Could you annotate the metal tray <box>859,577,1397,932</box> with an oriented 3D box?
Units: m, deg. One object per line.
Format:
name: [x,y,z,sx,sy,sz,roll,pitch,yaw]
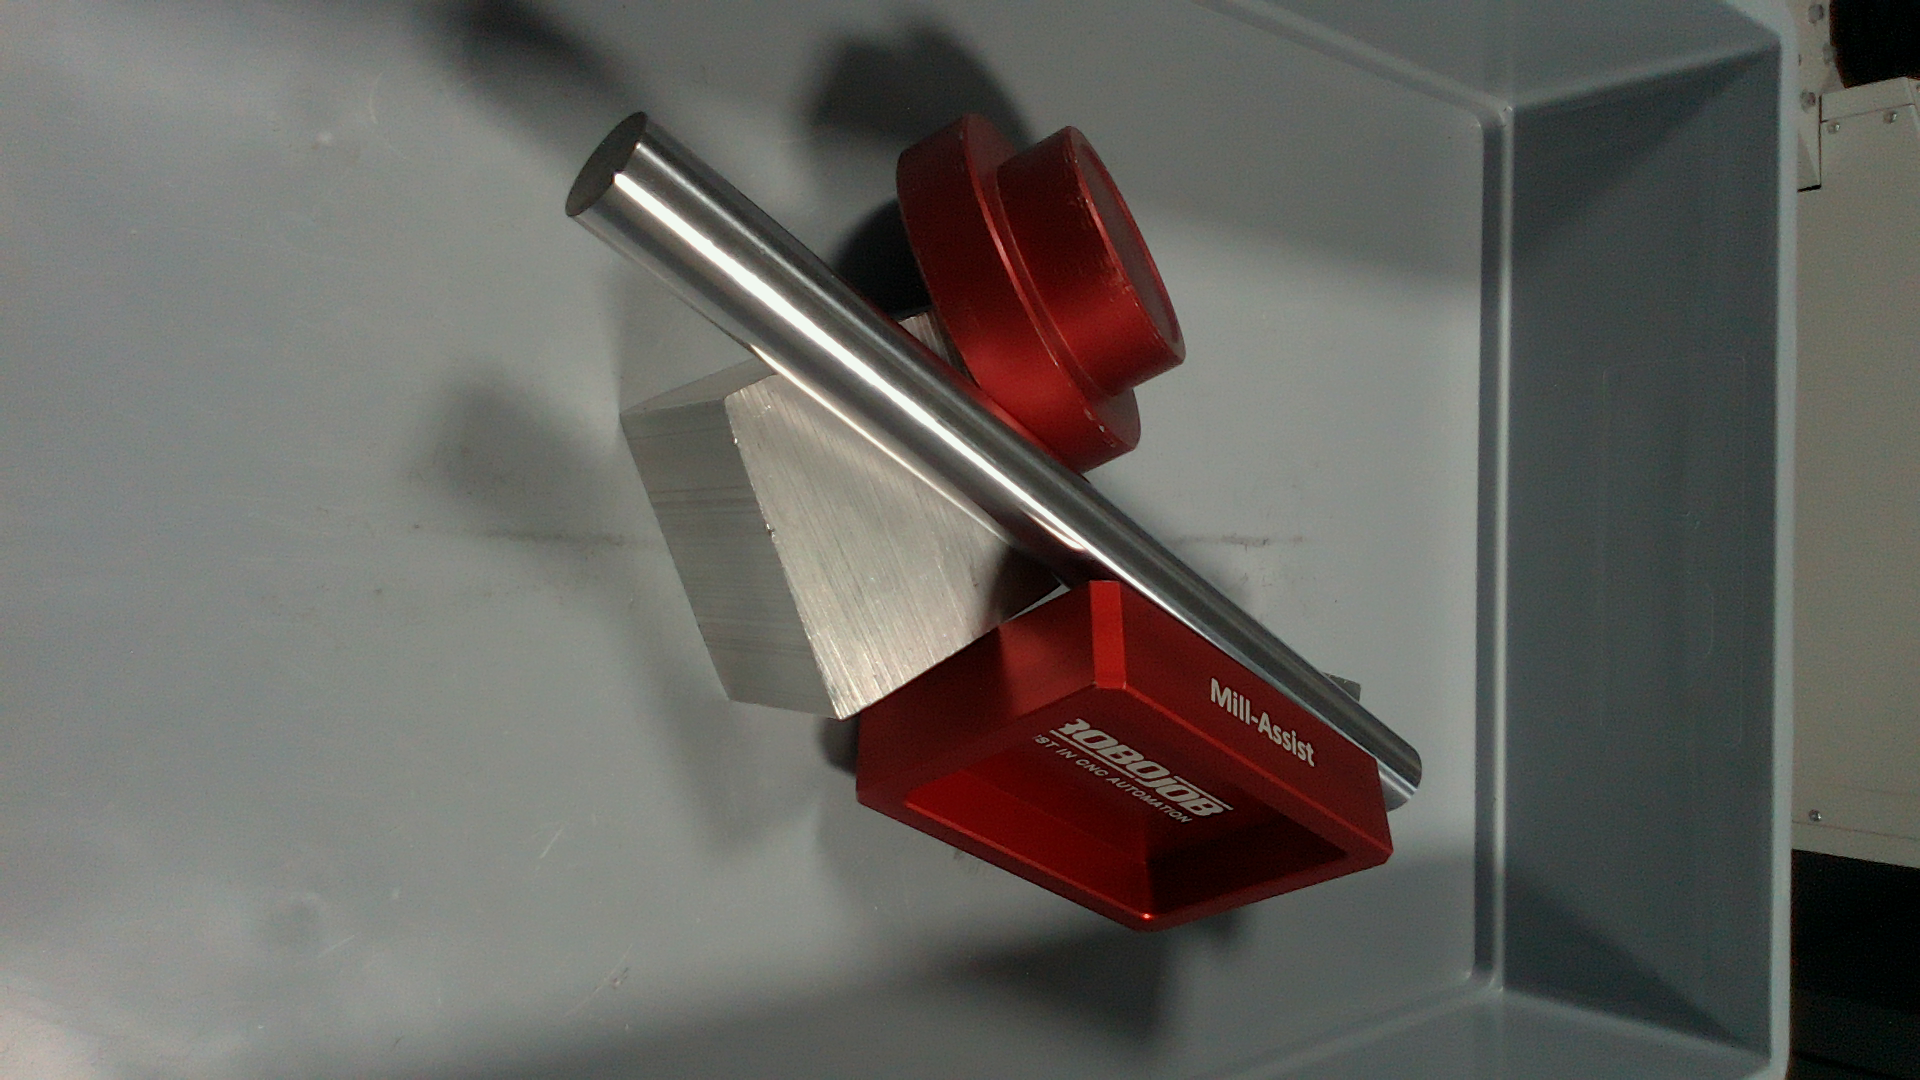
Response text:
metal tray: [0.048,0.066,0.380,0.130,0.090,0.030,33,42,-35]

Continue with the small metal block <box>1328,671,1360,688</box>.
small metal block: [0.100,0.067,0.455,0.025,0.050,0.050,19,78,-38]

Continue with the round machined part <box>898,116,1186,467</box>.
round machined part: [0.027,-0.069,0.365,0.098,0.042,0.098,54,21,-30]

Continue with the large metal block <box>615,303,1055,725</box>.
large metal block: [-0.027,-0.010,0.348,0.080,0.050,0.080,-28,108,-36]

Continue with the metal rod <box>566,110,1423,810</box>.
metal rod: [0.033,0.001,0.348,0.301,0.025,0.025,36,68,-34]
